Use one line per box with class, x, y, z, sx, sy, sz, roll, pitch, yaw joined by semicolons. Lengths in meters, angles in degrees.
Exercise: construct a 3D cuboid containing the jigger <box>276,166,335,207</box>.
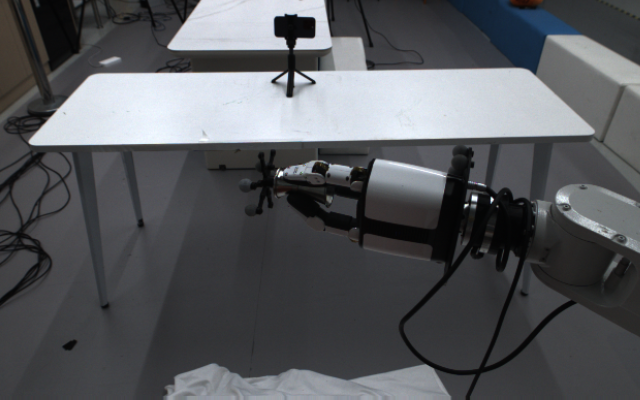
jigger;-0.013;-0.022;0.598;0.071;0.043;0.043;8;35;14
